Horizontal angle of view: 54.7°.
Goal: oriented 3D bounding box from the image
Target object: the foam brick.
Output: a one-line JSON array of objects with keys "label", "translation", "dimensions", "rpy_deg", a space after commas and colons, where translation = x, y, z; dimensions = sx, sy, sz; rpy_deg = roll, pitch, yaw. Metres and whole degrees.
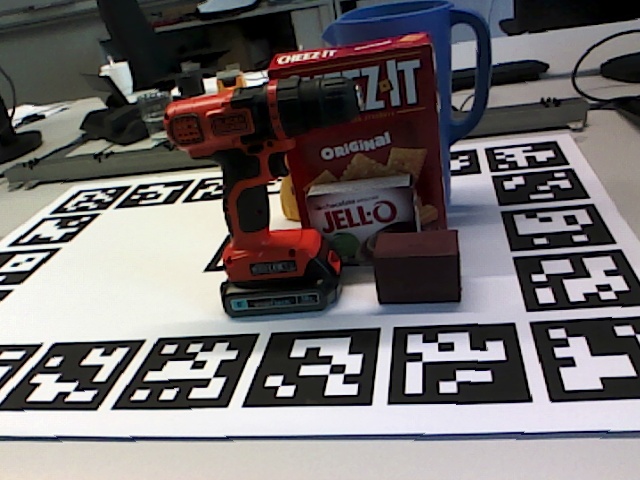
[{"label": "foam brick", "translation": [0.095, 0.028, 0.596], "dimensions": [0.078, 0.051, 0.053], "rpy_deg": [-4, 30, 15]}]

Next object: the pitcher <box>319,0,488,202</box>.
[{"label": "pitcher", "translation": [0.108, -0.156, 0.742], "dimensions": [0.189, 0.242, 0.133], "rpy_deg": [-4, 28, 19]}]

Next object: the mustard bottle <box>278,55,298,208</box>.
[{"label": "mustard bottle", "translation": [-0.020, -0.135, 0.776], "dimensions": [0.097, 0.191, 0.058], "rpy_deg": [2, 31, 24]}]

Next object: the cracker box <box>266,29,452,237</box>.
[{"label": "cracker box", "translation": [0.048, -0.098, 0.666], "dimensions": [0.164, 0.213, 0.072], "rpy_deg": [-8, 25, 12]}]

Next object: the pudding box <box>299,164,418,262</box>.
[{"label": "pudding box", "translation": [0.043, -0.027, 0.649], "dimensions": [0.114, 0.090, 0.038], "rpy_deg": [-7, 26, 15]}]

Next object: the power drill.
[{"label": "power drill", "translation": [-0.039, -0.053, 0.579], "dimensions": [0.185, 0.186, 0.057], "rpy_deg": [-5, 24, 11]}]
